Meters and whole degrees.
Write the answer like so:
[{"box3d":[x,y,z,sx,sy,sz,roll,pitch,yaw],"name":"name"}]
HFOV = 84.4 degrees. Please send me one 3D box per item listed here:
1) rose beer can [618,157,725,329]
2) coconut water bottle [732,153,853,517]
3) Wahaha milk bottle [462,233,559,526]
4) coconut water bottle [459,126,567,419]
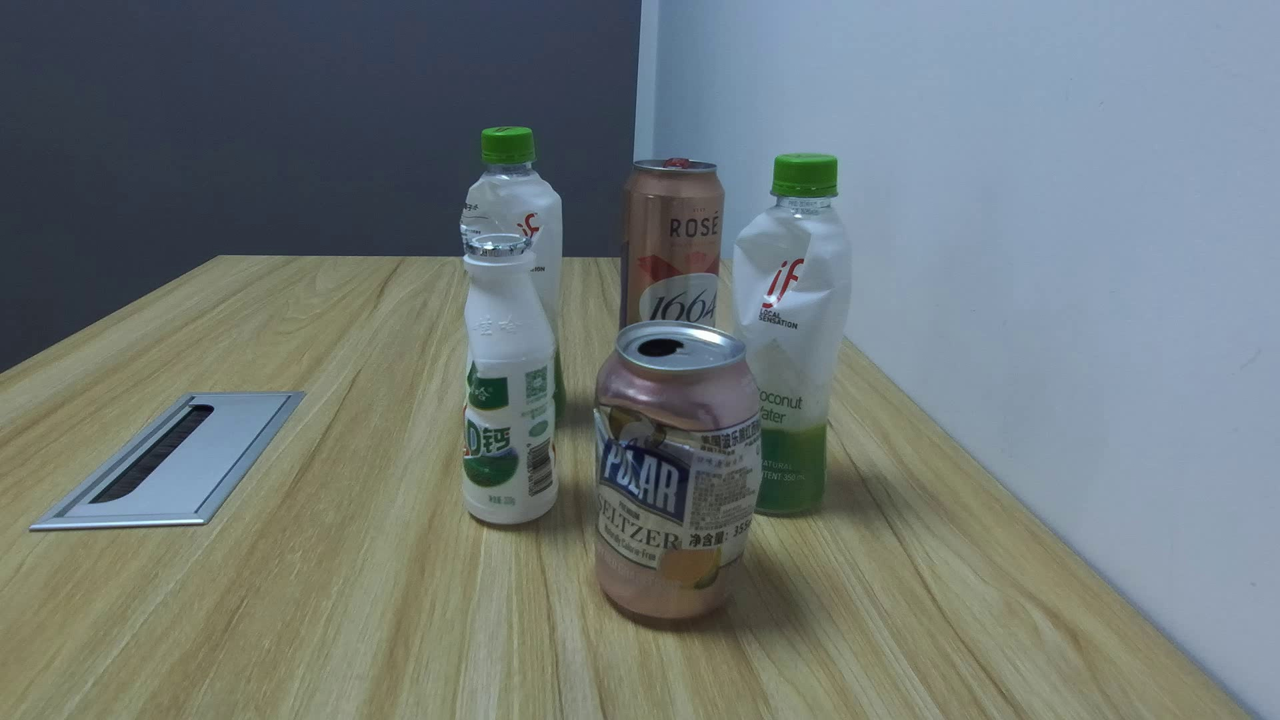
[{"box3d":[0.021,-0.042,0.484,0.068,0.169,0.068,3,15,-1],"name":"rose beer can"},{"box3d":[0.077,-0.012,0.375,0.067,0.187,0.067,2,22,0],"name":"coconut water bottle"},{"box3d":[-0.070,0.012,0.364,0.056,0.148,0.056,2,23,0],"name":"Wahaha milk bottle"},{"box3d":[-0.079,-0.050,0.454,0.069,0.187,0.069,3,20,-1],"name":"coconut water bottle"}]
